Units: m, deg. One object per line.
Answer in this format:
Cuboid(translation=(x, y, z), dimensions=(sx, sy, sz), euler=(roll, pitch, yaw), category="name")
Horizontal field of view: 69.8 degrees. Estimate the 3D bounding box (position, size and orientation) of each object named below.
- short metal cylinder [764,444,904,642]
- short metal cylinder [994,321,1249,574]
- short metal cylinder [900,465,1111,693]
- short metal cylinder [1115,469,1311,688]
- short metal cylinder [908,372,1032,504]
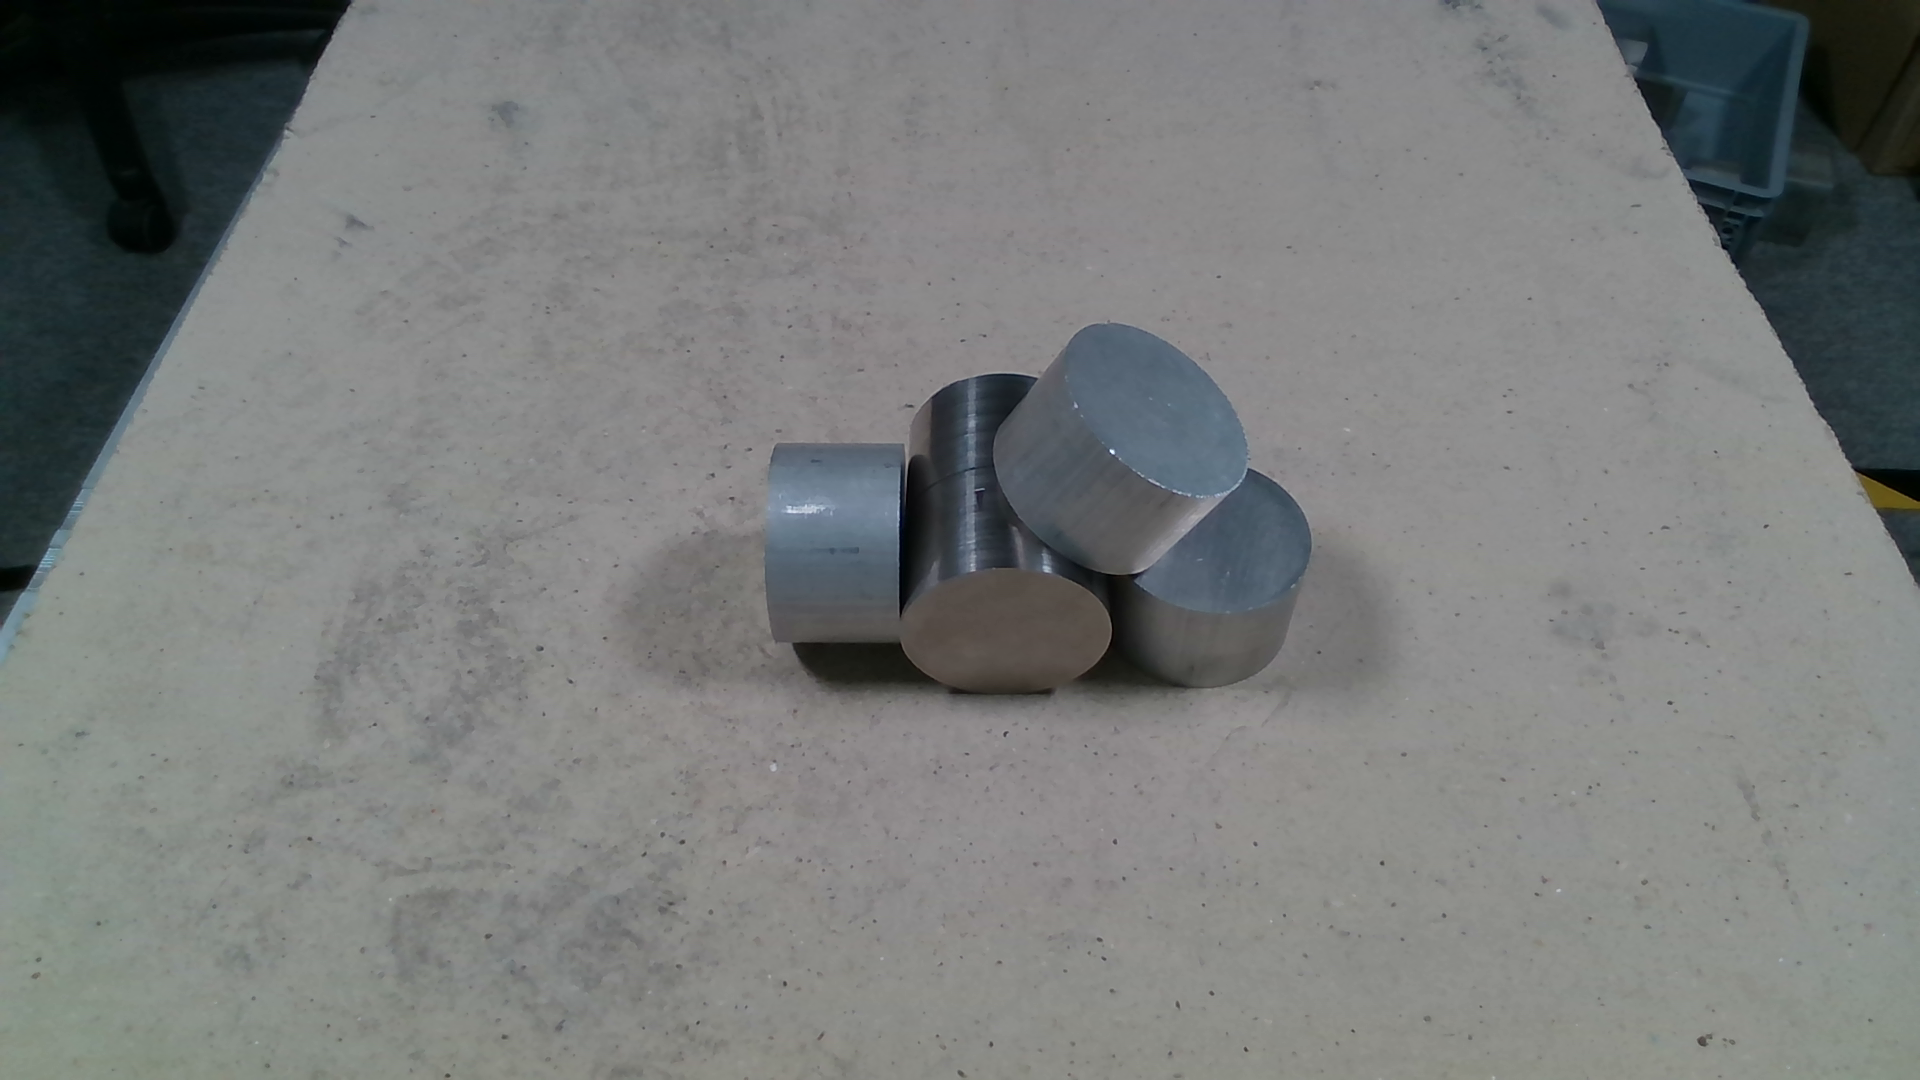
Cuboid(translation=(-0.048, 0.001, 0.551), dimensions=(0.050, 0.080, 0.080), euler=(0, 50, 0), category="short metal cylinder")
Cuboid(translation=(0.060, -0.034, 0.513), dimensions=(0.080, 0.050, 0.080), euler=(19, 47, -22), category="short metal cylinder")
Cuboid(translation=(0.017, 0.016, 0.537), dimensions=(0.080, 0.080, 0.050), euler=(0, 49, 0), category="short metal cylinder")
Cuboid(translation=(0.098, 0.013, 0.561), dimensions=(0.080, 0.050, 0.080), euler=(0, 50, 0), category="short metal cylinder")
Cuboid(translation=(0.017, -0.023, 0.571), dimensions=(0.080, 0.080, 0.050), euler=(0, 50, 0), category="short metal cylinder")
